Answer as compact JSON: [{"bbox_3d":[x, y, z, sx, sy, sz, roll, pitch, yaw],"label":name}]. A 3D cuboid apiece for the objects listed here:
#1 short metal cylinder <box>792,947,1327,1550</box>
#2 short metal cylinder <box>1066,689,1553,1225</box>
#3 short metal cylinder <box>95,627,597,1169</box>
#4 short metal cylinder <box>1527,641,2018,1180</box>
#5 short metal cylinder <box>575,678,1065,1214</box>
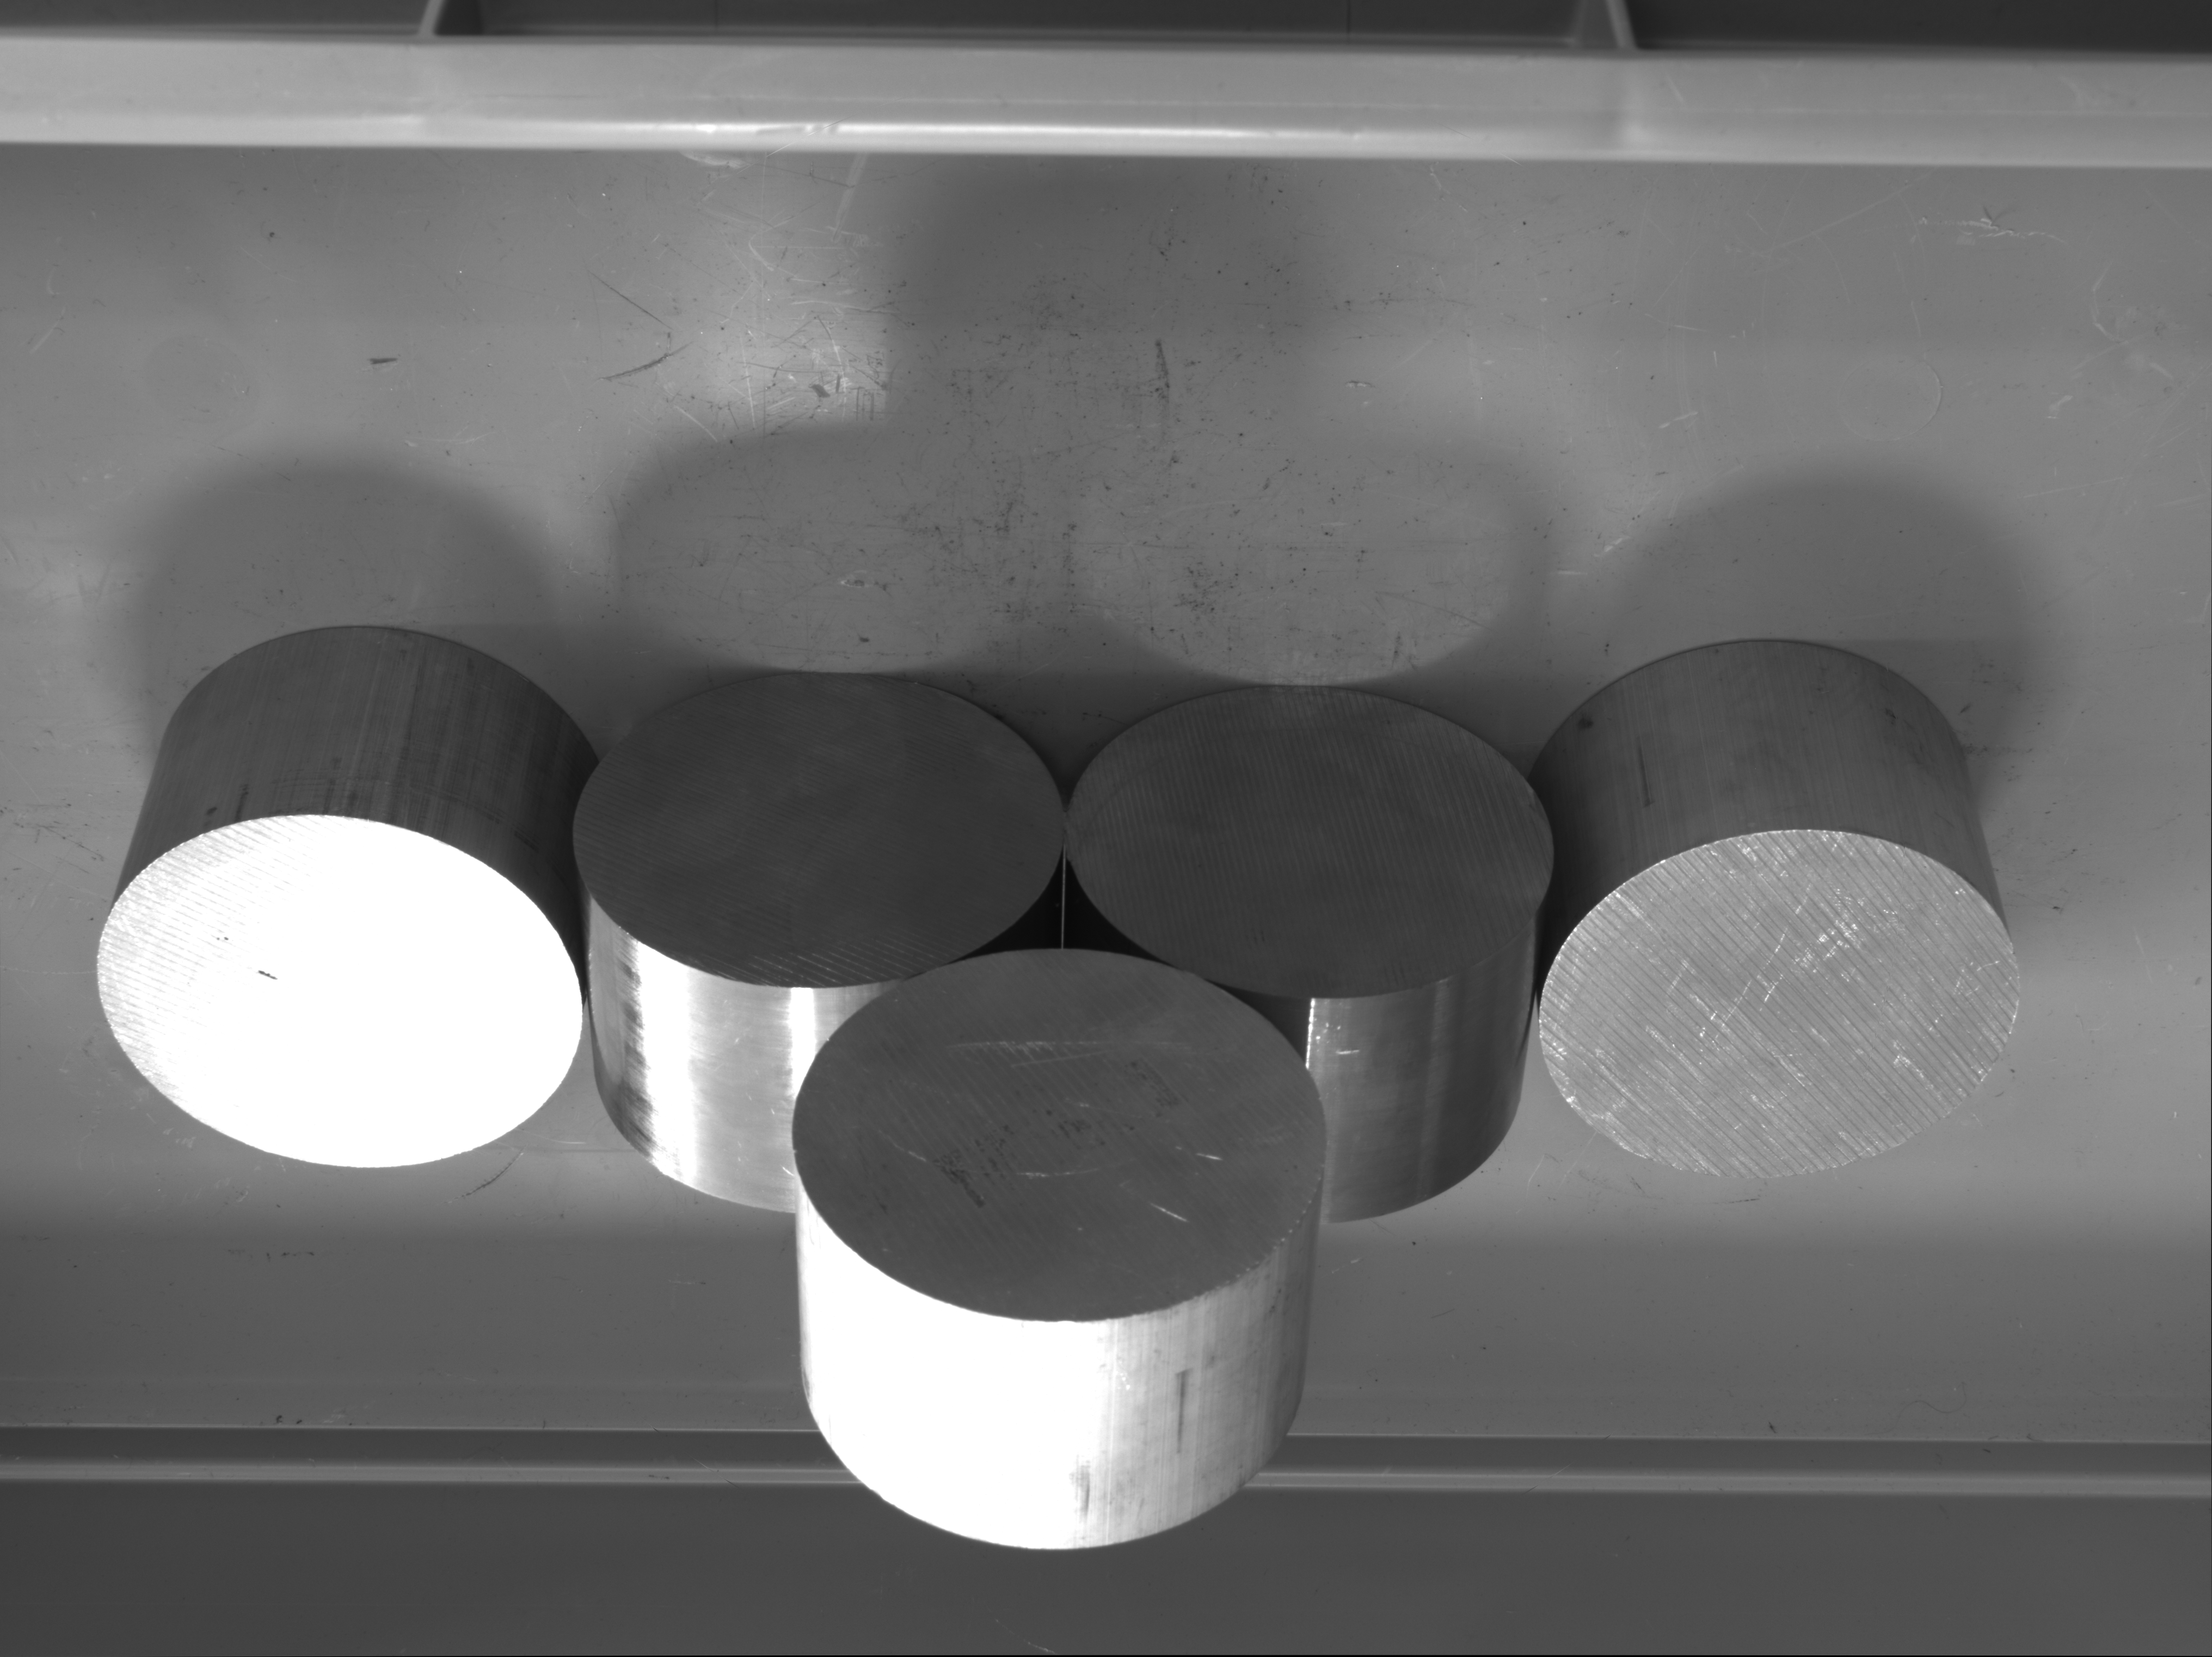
[{"bbox_3d":[-0.008,0.064,0.565,0.080,0.080,0.050,1,130,-1],"label":"short metal cylinder"},{"bbox_3d":[0.033,0.021,0.619,0.080,0.080,0.050,1,130,-1],"label":"short metal cylinder"},{"bbox_3d":[-0.128,0.012,0.631,0.080,0.050,0.080,0,130,0],"label":"short metal cylinder"},{"bbox_3d":[0.113,0.015,0.634,0.080,0.050,0.080,0,130,0],"label":"short metal cylinder"},{"bbox_3d":[-0.047,0.019,0.617,0.080,0.080,0.050,1,130,-1],"label":"short metal cylinder"}]
